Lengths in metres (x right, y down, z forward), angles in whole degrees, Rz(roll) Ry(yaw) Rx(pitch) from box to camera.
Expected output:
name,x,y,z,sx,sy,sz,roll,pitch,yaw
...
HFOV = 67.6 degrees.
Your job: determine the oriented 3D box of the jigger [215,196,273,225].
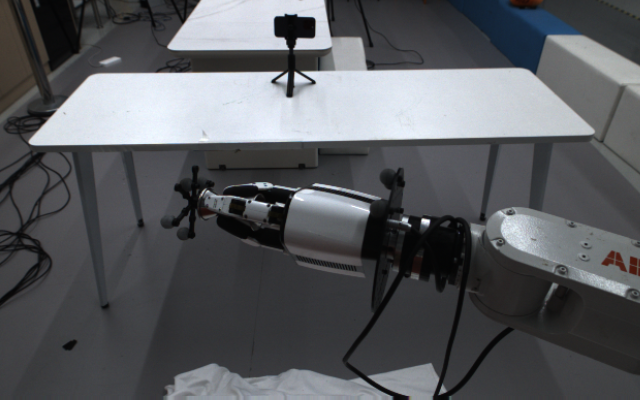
name,x,y,z,sx,sy,sz,roll,pitch,yaw
jigger,-0.097,0.005,0.564,0.071,0.043,0.043,8,35,15
